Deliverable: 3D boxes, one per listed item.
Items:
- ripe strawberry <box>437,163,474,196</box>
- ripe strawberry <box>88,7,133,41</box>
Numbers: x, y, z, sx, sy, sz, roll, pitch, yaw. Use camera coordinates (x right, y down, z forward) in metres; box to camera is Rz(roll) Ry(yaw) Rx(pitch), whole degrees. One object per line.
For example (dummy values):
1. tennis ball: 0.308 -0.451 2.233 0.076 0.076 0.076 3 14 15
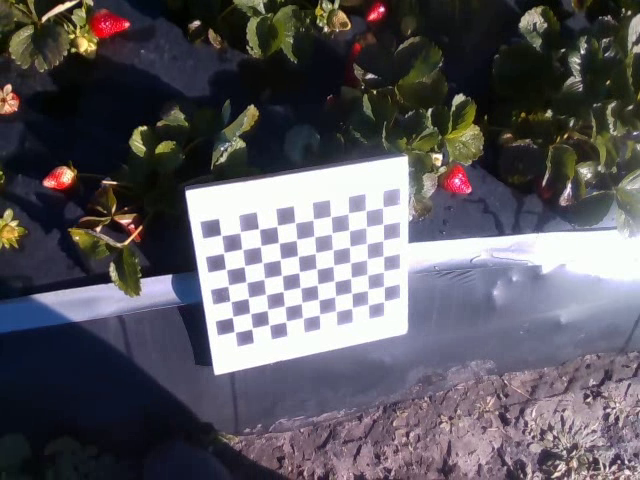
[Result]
1. ripe strawberry: 0.202 -0.082 0.866 0.054 0.048 0.030 35 10 -24
2. ripe strawberry: -0.297 -0.309 0.835 0.064 0.050 0.052 1 23 -5
